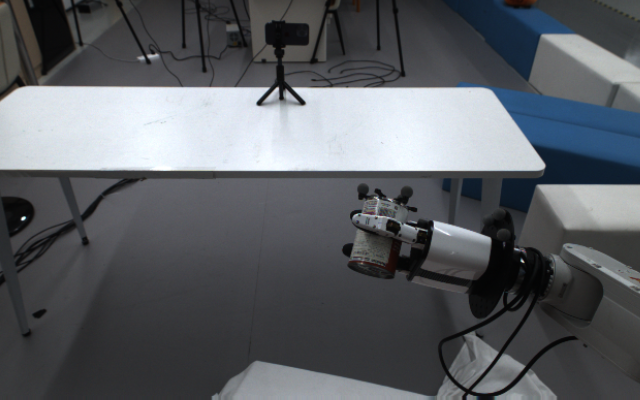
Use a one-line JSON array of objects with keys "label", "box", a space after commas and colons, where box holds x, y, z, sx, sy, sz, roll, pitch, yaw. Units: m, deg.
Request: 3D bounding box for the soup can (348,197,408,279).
[{"label": "soup can", "box": [0.086, 0.054, 0.691, 0.067, 0.067, 0.101, 11, 72, 13]}]
